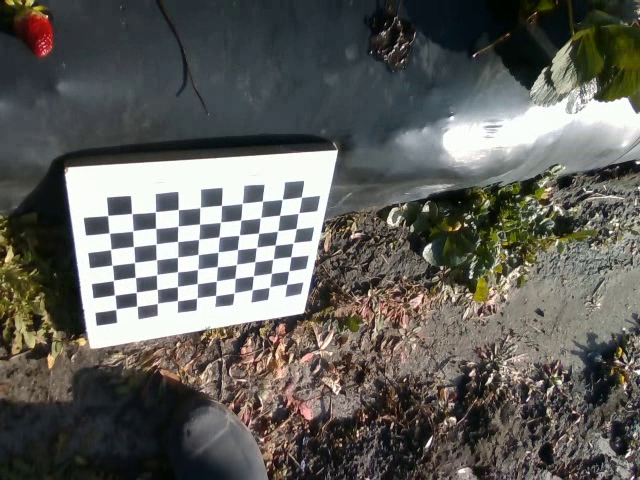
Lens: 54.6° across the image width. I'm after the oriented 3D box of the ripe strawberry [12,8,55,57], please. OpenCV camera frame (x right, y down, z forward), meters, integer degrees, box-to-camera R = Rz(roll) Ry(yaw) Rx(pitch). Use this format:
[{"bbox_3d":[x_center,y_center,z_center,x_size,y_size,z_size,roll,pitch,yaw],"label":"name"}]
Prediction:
[{"bbox_3d":[-0.199,-0.141,0.426,0.028,0.041,0.031,-24,-10,-2],"label":"ripe strawberry"}]
